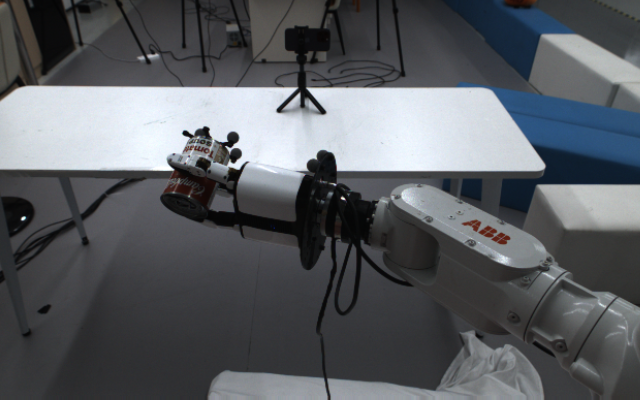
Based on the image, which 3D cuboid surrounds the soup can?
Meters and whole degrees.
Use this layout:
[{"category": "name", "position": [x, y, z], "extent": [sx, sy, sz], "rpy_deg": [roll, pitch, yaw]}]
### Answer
[{"category": "soup can", "position": [-0.176, -0.031, 0.693], "extent": [0.067, 0.067, 0.101], "rpy_deg": [9, 60, 10]}]
